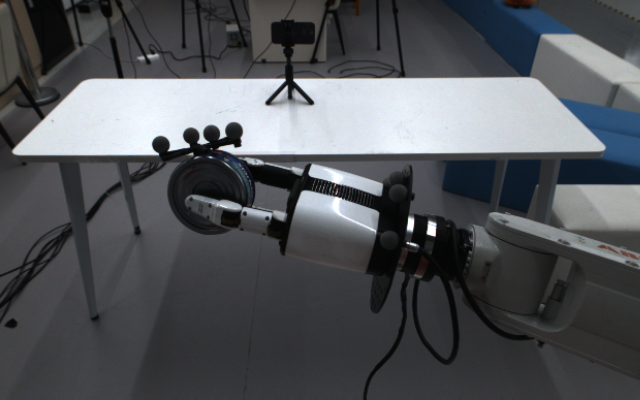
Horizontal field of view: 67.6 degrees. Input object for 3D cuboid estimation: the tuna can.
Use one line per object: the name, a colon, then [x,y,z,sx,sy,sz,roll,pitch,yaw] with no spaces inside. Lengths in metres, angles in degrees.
tuna can: [-0.109,-0.002,0.503,0.085,0.085,0.034,6,18,5]
